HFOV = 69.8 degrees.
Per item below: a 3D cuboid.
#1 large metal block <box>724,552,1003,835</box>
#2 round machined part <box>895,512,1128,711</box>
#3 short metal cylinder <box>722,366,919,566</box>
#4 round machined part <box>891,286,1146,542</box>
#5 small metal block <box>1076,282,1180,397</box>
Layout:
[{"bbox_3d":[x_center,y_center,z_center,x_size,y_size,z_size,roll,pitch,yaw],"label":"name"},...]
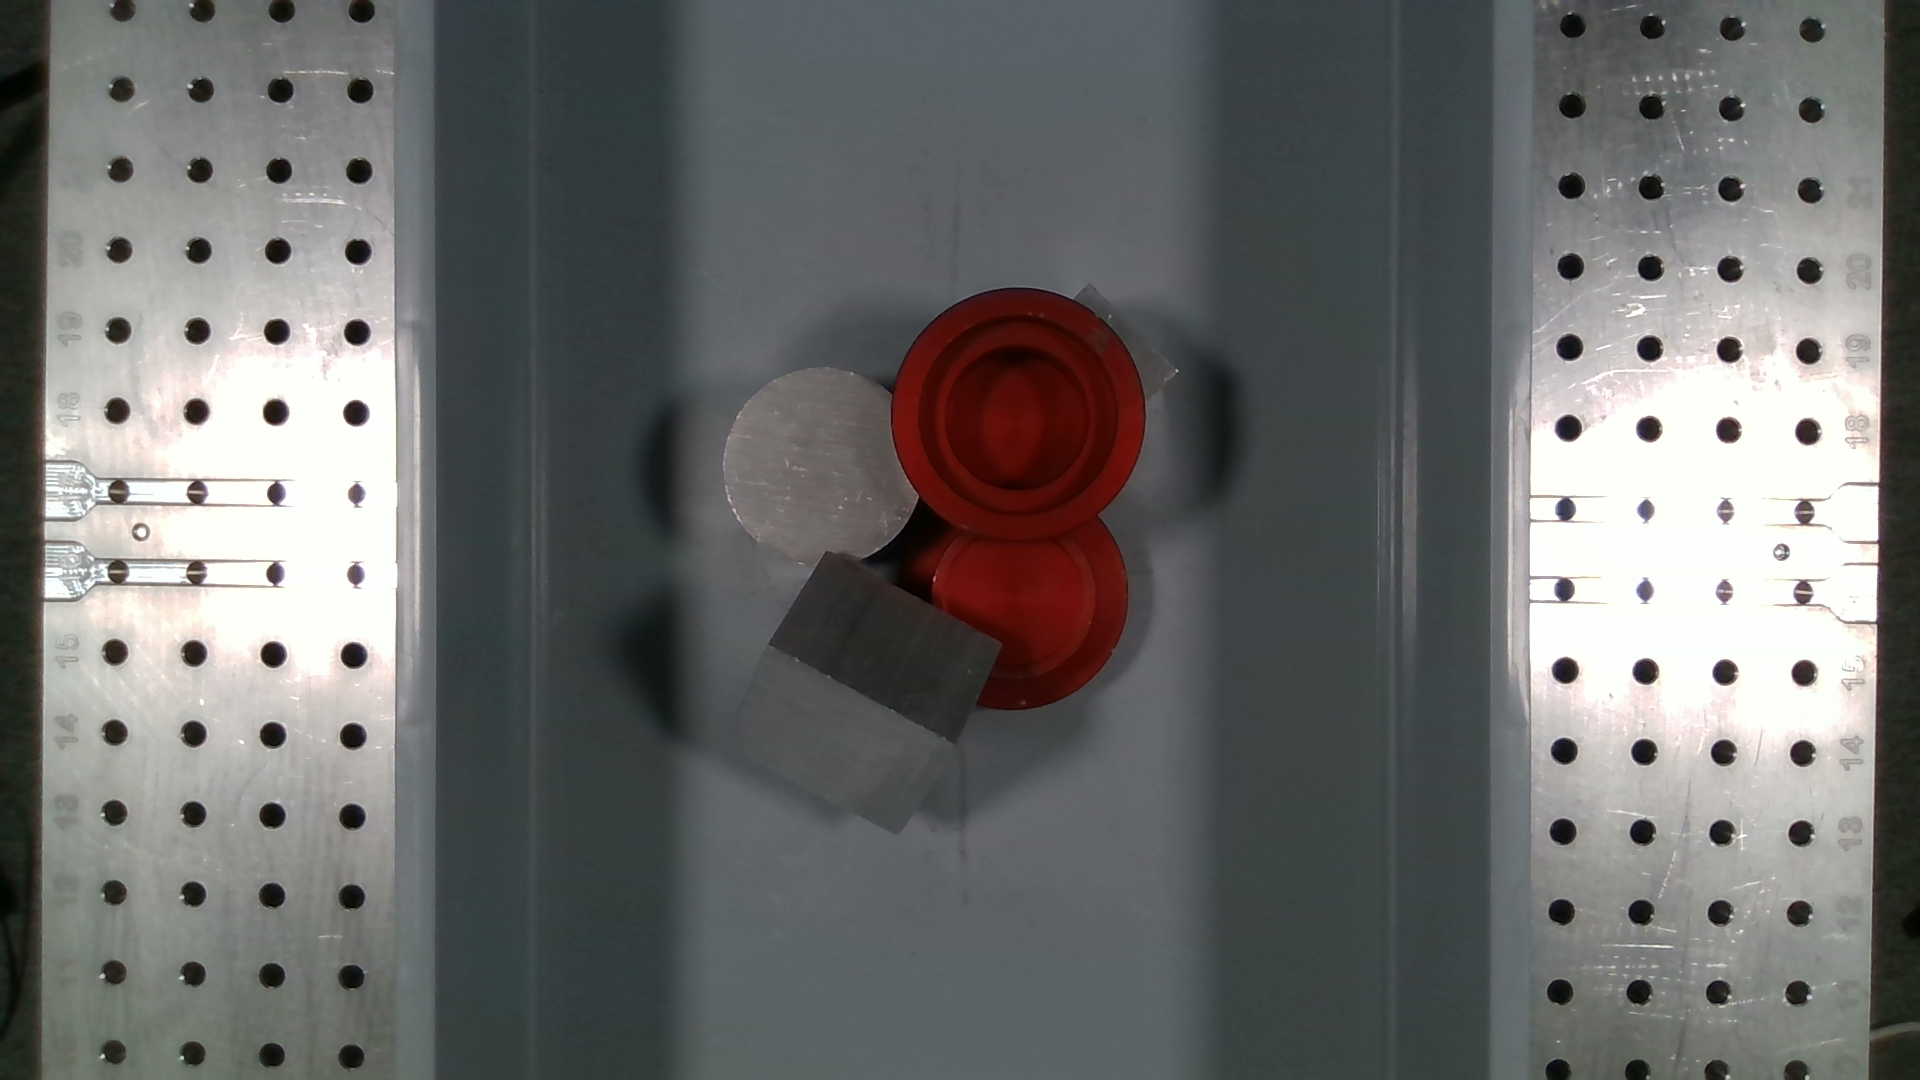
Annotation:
[{"bbox_3d":[-0.040,0.063,0.552,0.080,0.080,0.050,28,49,-1],"label":"large metal block"},{"bbox_3d":[0.021,0.023,0.576,0.098,0.042,0.098,0,90,0],"label":"round machined part"},{"bbox_3d":[-0.055,-0.029,0.573,0.080,0.050,0.080,0,90,0],"label":"short metal cylinder"},{"bbox_3d":[0.022,-0.048,0.548,0.098,0.042,0.098,0,90,0],"label":"round machined part"},{"bbox_3d":[0.061,-0.076,0.572,0.050,0.050,0.025,44,90,0],"label":"small metal block"}]
